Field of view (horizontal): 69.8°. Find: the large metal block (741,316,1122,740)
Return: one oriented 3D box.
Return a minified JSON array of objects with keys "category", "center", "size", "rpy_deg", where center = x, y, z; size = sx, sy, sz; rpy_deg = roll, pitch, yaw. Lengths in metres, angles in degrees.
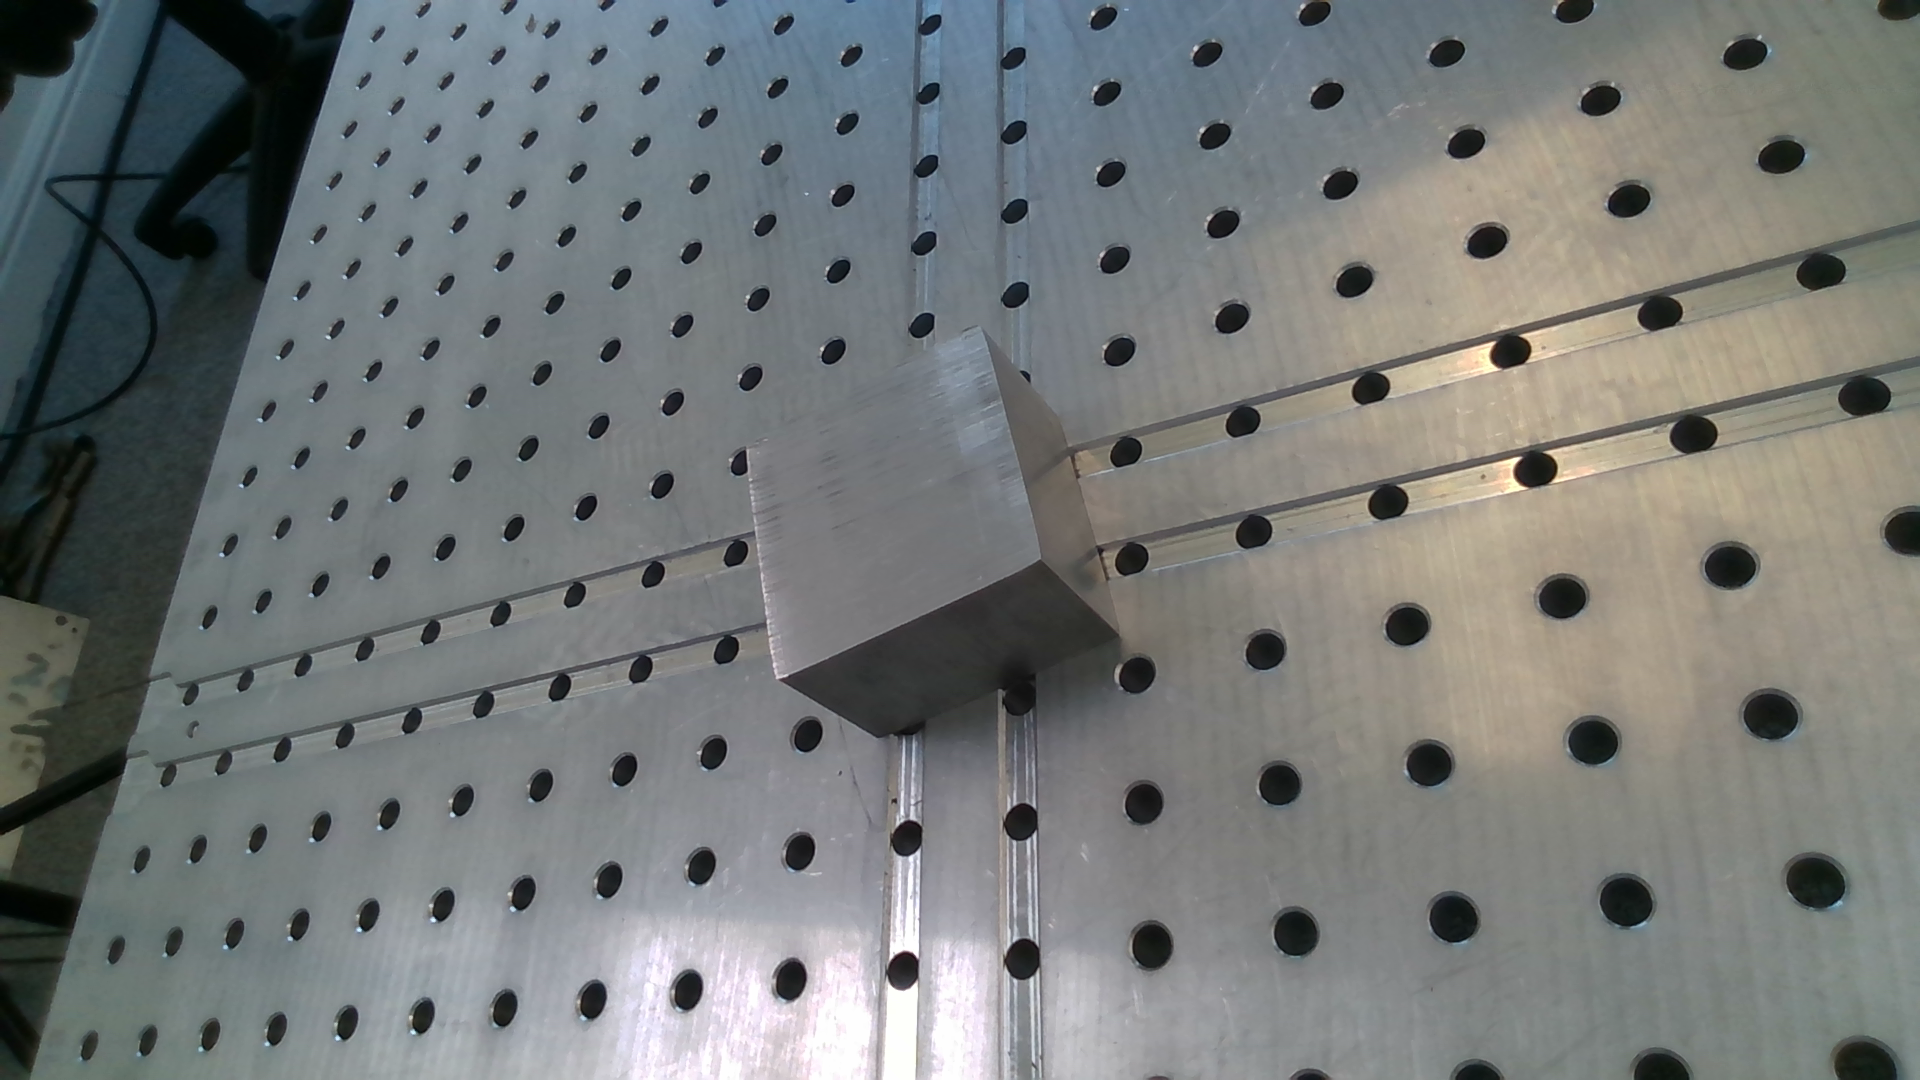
[{"category":"large metal block","center":[-0.010,-0.002,0.386],"size":[0.080,0.050,0.080],"rpy_deg":[-25,55,18]}]
